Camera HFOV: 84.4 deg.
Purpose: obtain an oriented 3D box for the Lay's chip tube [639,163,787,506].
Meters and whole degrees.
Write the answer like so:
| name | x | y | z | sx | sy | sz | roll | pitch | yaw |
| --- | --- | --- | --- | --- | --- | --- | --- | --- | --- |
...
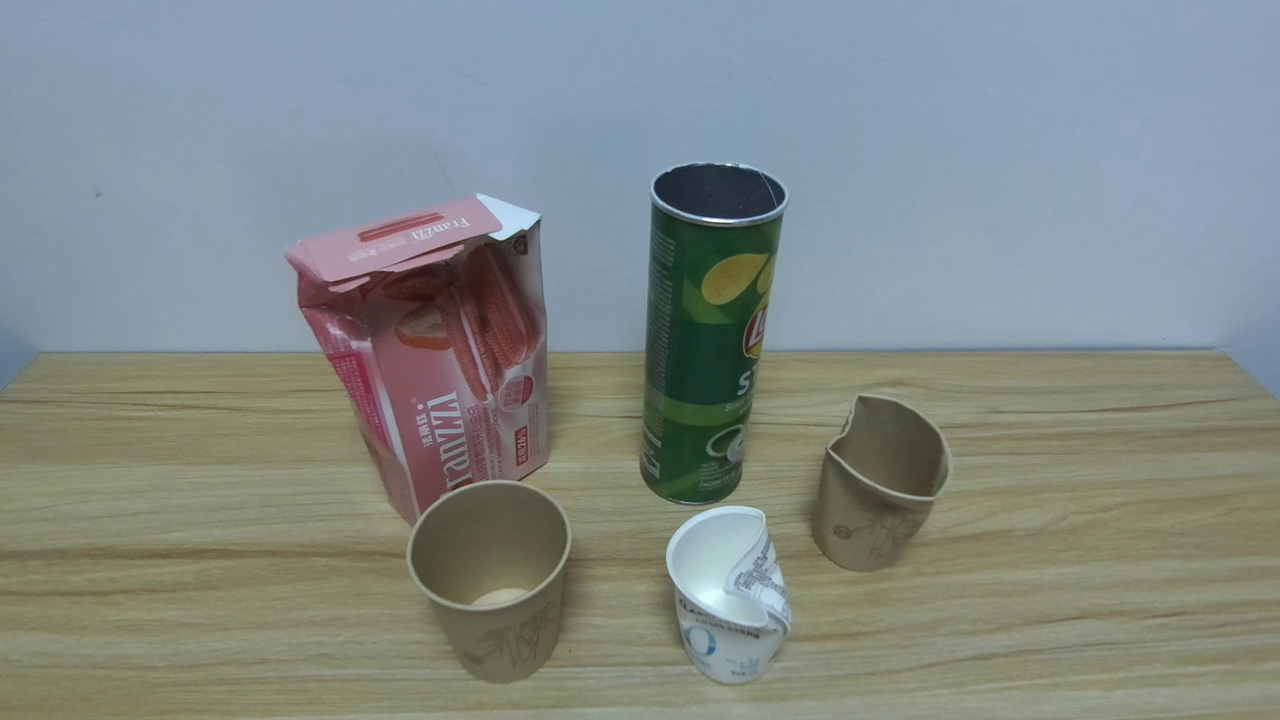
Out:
| name | x | y | z | sx | sy | sz | roll | pitch | yaw |
| --- | --- | --- | --- | --- | --- | --- | --- | --- | --- |
| Lay's chip tube | 0.037 | -0.007 | 0.410 | 0.071 | 0.203 | 0.071 | 1 | 39 | -1 |

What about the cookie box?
| name | x | y | z | sx | sy | sz | roll | pitch | yaw |
| --- | --- | --- | --- | --- | --- | --- | --- | --- | --- |
| cookie box | -0.111 | 0.009 | 0.403 | 0.119 | 0.184 | 0.055 | -26 | 46 | -29 |

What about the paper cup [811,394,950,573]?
| name | x | y | z | sx | sy | sz | roll | pitch | yaw |
| --- | --- | --- | --- | --- | --- | --- | --- | --- | --- |
| paper cup | 0.136 | 0.076 | 0.407 | 0.066 | 0.084 | 0.072 | 21 | 42 | 24 |

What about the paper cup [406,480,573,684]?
| name | x | y | z | sx | sy | sz | roll | pitch | yaw |
| --- | --- | --- | --- | --- | --- | --- | --- | --- | --- |
| paper cup | -0.070 | 0.115 | 0.351 | 0.075 | 0.082 | 0.075 | 1 | 38 | -1 |

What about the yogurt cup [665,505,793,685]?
| name | x | y | z | sx | sy | sz | roll | pitch | yaw |
| --- | --- | --- | --- | --- | --- | --- | --- | --- | --- |
| yogurt cup | 0.046 | 0.122 | 0.358 | 0.067 | 0.070 | 0.067 | 1 | 40 | 0 |
